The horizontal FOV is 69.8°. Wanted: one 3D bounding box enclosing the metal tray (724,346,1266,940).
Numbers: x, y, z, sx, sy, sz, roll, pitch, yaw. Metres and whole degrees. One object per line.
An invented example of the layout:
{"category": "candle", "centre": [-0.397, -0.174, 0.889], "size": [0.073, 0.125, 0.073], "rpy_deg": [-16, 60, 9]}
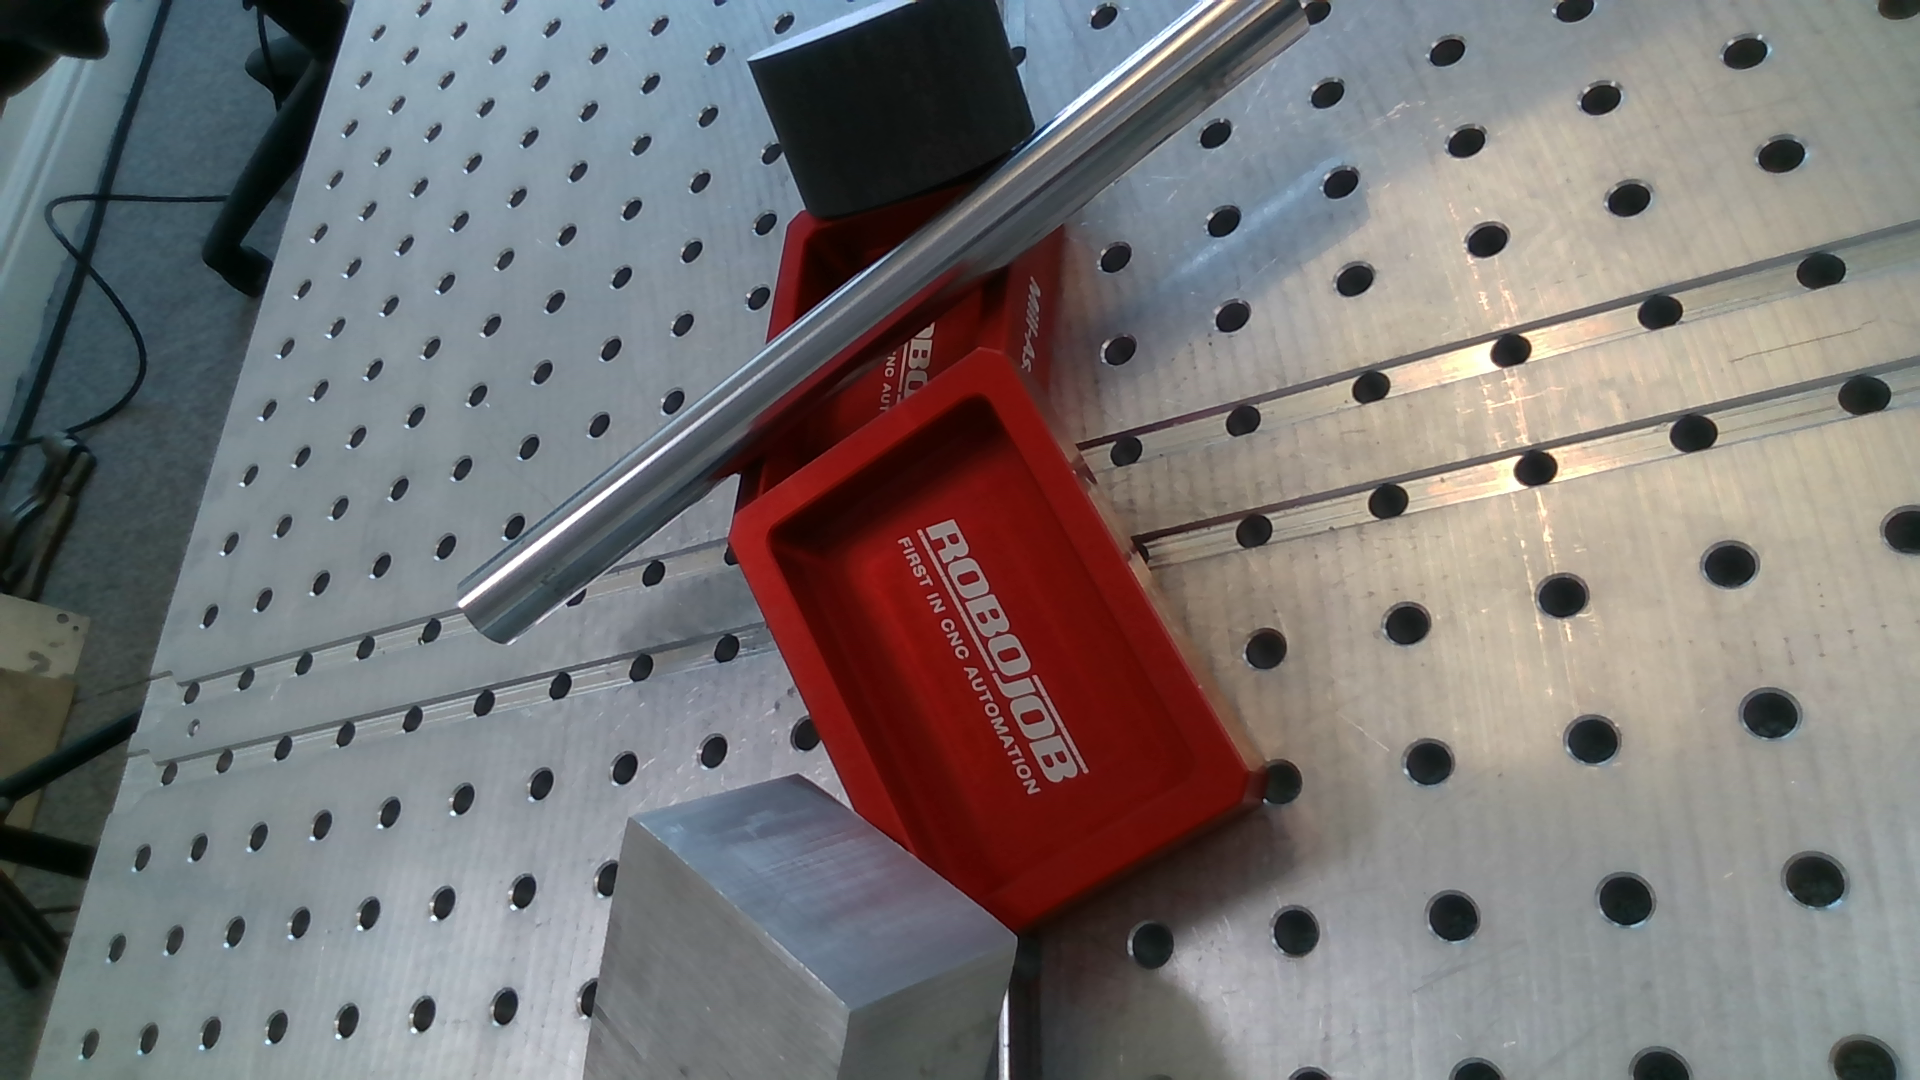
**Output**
{"category": "metal tray", "centre": [0.005, 0.028, 0.350], "size": [0.090, 0.030, 0.130], "rpy_deg": [-33, 69, 13]}

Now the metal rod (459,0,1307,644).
{"category": "metal rod", "centre": [-0.030, -0.064, 0.410], "size": [0.300, 0.025, 0.025], "rpy_deg": [-36, 52, 11]}

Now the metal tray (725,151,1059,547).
{"category": "metal tray", "centre": [-0.019, -0.052, 0.432], "size": [0.090, 0.030, 0.130], "rpy_deg": [-8, 62, 28]}

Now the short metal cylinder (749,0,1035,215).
{"category": "short metal cylinder", "centre": [-0.022, -0.145, 0.446], "size": [0.080, 0.050, 0.080], "rpy_deg": [-18, 23, 8]}

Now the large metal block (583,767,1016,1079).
{"category": "large metal block", "centre": [-0.041, 0.112, 0.323], "size": [0.080, 0.050, 0.080], "rpy_deg": [28, 113, 39]}
